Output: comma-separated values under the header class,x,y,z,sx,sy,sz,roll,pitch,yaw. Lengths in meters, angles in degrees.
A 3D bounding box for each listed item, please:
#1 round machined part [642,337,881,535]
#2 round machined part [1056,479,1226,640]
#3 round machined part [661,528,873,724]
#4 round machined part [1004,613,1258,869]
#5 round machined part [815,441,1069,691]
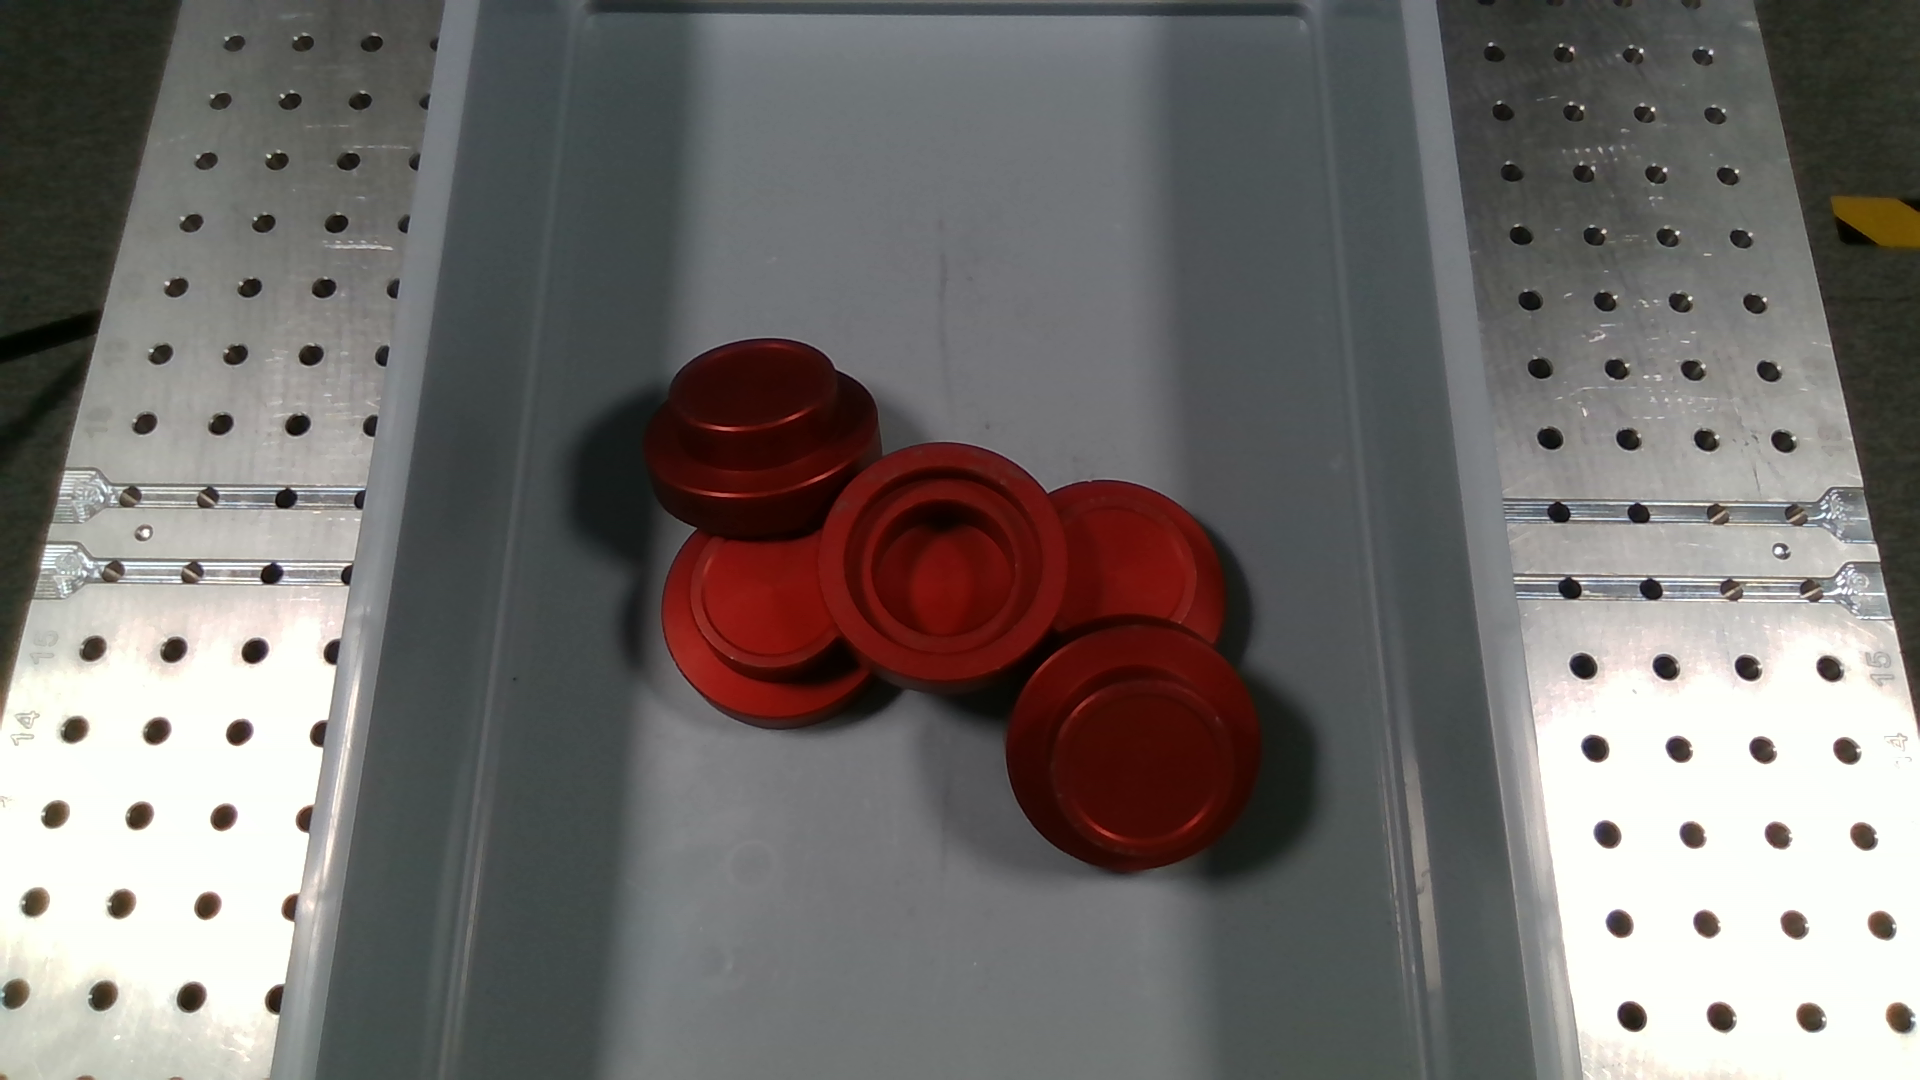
class,x,y,z,sx,sy,sz,roll,pitch,yaw
round machined part,-0.084,-0.049,0.573,0.098,0.042,0.098,-3,40,2
round machined part,0.061,0.019,0.571,0.098,0.042,0.098,0,70,0
round machined part,-0.075,0.025,0.569,0.098,0.042,0.098,0,70,0
round machined part,0.066,0.080,0.527,0.098,0.042,0.098,0,101,-3
round machined part,-0.007,0.014,0.550,0.098,0.042,0.098,0,70,0
